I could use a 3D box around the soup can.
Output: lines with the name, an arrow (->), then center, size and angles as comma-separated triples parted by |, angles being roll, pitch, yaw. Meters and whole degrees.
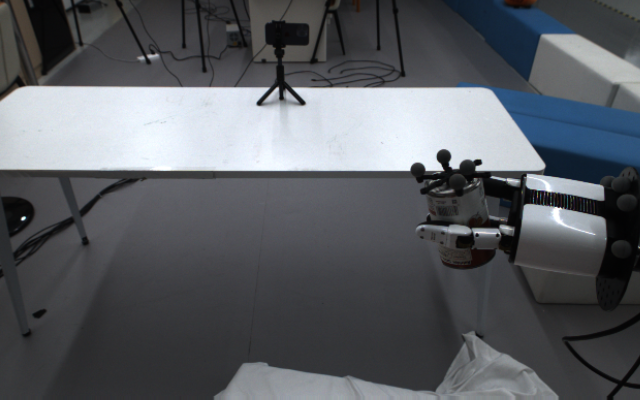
soup can -> 0.169, 0.021, 0.578 | 0.067, 0.101, 0.067 | -16, 23, 7
